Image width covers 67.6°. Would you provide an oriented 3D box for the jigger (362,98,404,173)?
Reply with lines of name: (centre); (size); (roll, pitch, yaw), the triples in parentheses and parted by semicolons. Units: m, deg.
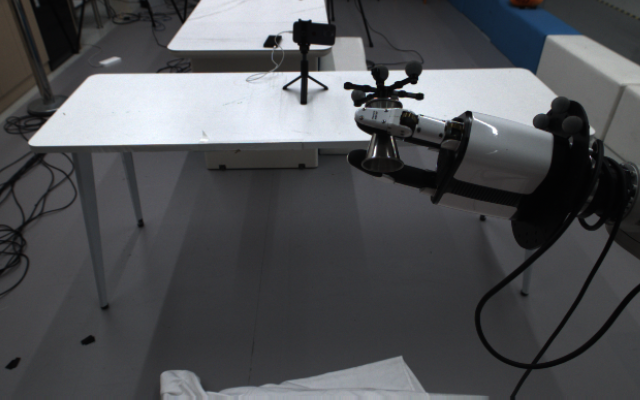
jigger: (0.066, -0.068, 0.514); (0.043, 0.043, 0.071); (3, 75, 1)
